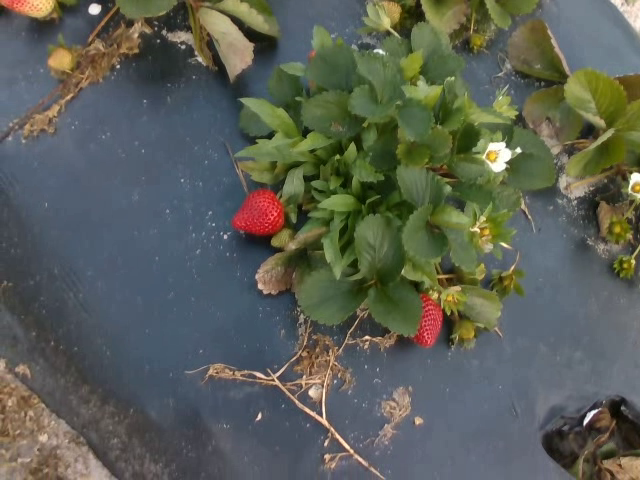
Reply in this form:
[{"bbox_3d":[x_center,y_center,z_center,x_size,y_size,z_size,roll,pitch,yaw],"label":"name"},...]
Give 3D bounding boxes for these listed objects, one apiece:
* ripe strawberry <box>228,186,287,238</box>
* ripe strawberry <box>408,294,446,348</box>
[{"bbox_3d":[-0.053,-0.021,0.506,0.050,0.043,0.042,-28,-5,-23],"label":"ripe strawberry"},{"bbox_3d":[0.083,0.069,0.507,0.043,0.046,0.047,-16,-34,4],"label":"ripe strawberry"}]
